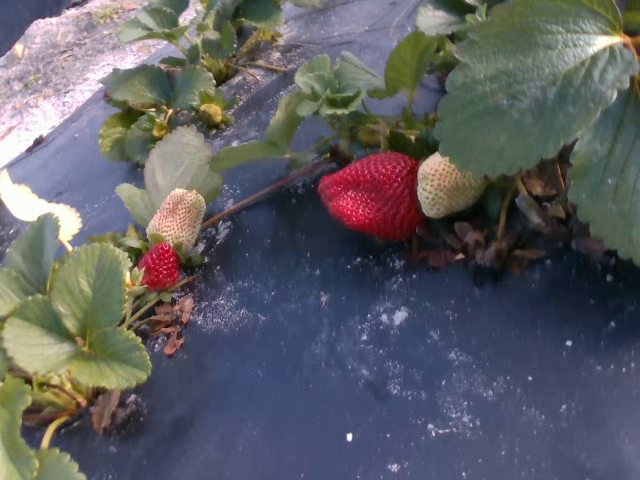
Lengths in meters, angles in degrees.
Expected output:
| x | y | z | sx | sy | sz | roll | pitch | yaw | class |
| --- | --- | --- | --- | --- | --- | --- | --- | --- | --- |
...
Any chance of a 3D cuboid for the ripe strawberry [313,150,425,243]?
| x | y | z | sx | sy | sz | roll | pitch | yaw | class |
| --- | --- | --- | --- | --- | --- | --- | --- | --- | --- |
| 0.029 | -0.024 | 0.352 | 0.070 | 0.058 | 0.057 | 5 | -17 | -18 | ripe strawberry |
